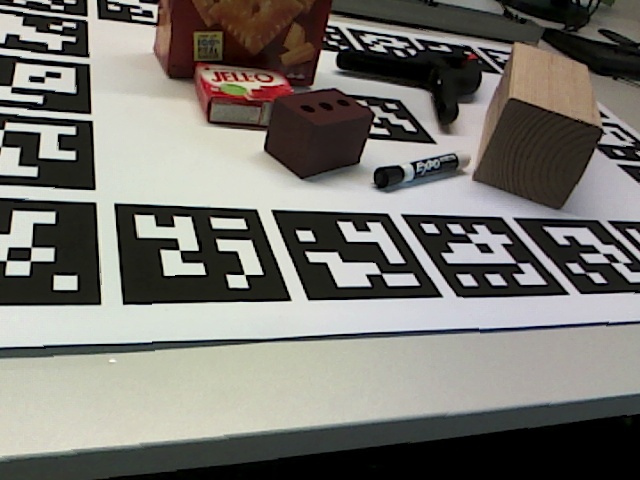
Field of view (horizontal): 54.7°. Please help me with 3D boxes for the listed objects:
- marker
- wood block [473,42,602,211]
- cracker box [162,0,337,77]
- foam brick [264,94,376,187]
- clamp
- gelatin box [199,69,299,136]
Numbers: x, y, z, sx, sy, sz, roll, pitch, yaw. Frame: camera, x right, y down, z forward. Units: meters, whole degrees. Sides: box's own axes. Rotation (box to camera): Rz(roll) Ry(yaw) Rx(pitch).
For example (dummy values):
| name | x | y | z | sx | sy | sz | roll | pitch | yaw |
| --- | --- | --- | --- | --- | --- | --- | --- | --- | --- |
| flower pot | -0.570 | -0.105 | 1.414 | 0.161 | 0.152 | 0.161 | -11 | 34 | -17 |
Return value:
| name | x | y | z | sx | sy | sz | roll | pitch | yaw |
| --- | --- | --- | --- | --- | --- | --- | --- | --- | --- |
| marker | 0.087 | -0.060 | 0.565 | 0.120 | 0.019 | 0.020 | -18 | 51 | -36 |
| wood block | 0.225 | -0.129 | 0.653 | 0.090 | 0.091 | 0.206 | 19 | 35 | 7 |
| cracker box | -0.059 | -0.273 | 0.610 | 0.163 | 0.213 | 0.072 | -2 | 41 | -26 |
| foam brick | -0.001 | -0.090 | 0.544 | 0.077 | 0.051 | 0.053 | -22 | 54 | -39 |
| clamp | 0.139 | -0.209 | 0.758 | 0.166 | 0.036 | 0.202 | 37 | 42 | 23 |
| gelatin box | -0.066 | -0.133 | 0.594 | 0.089 | 0.030 | 0.074 | -2 | 43 | -23 |
